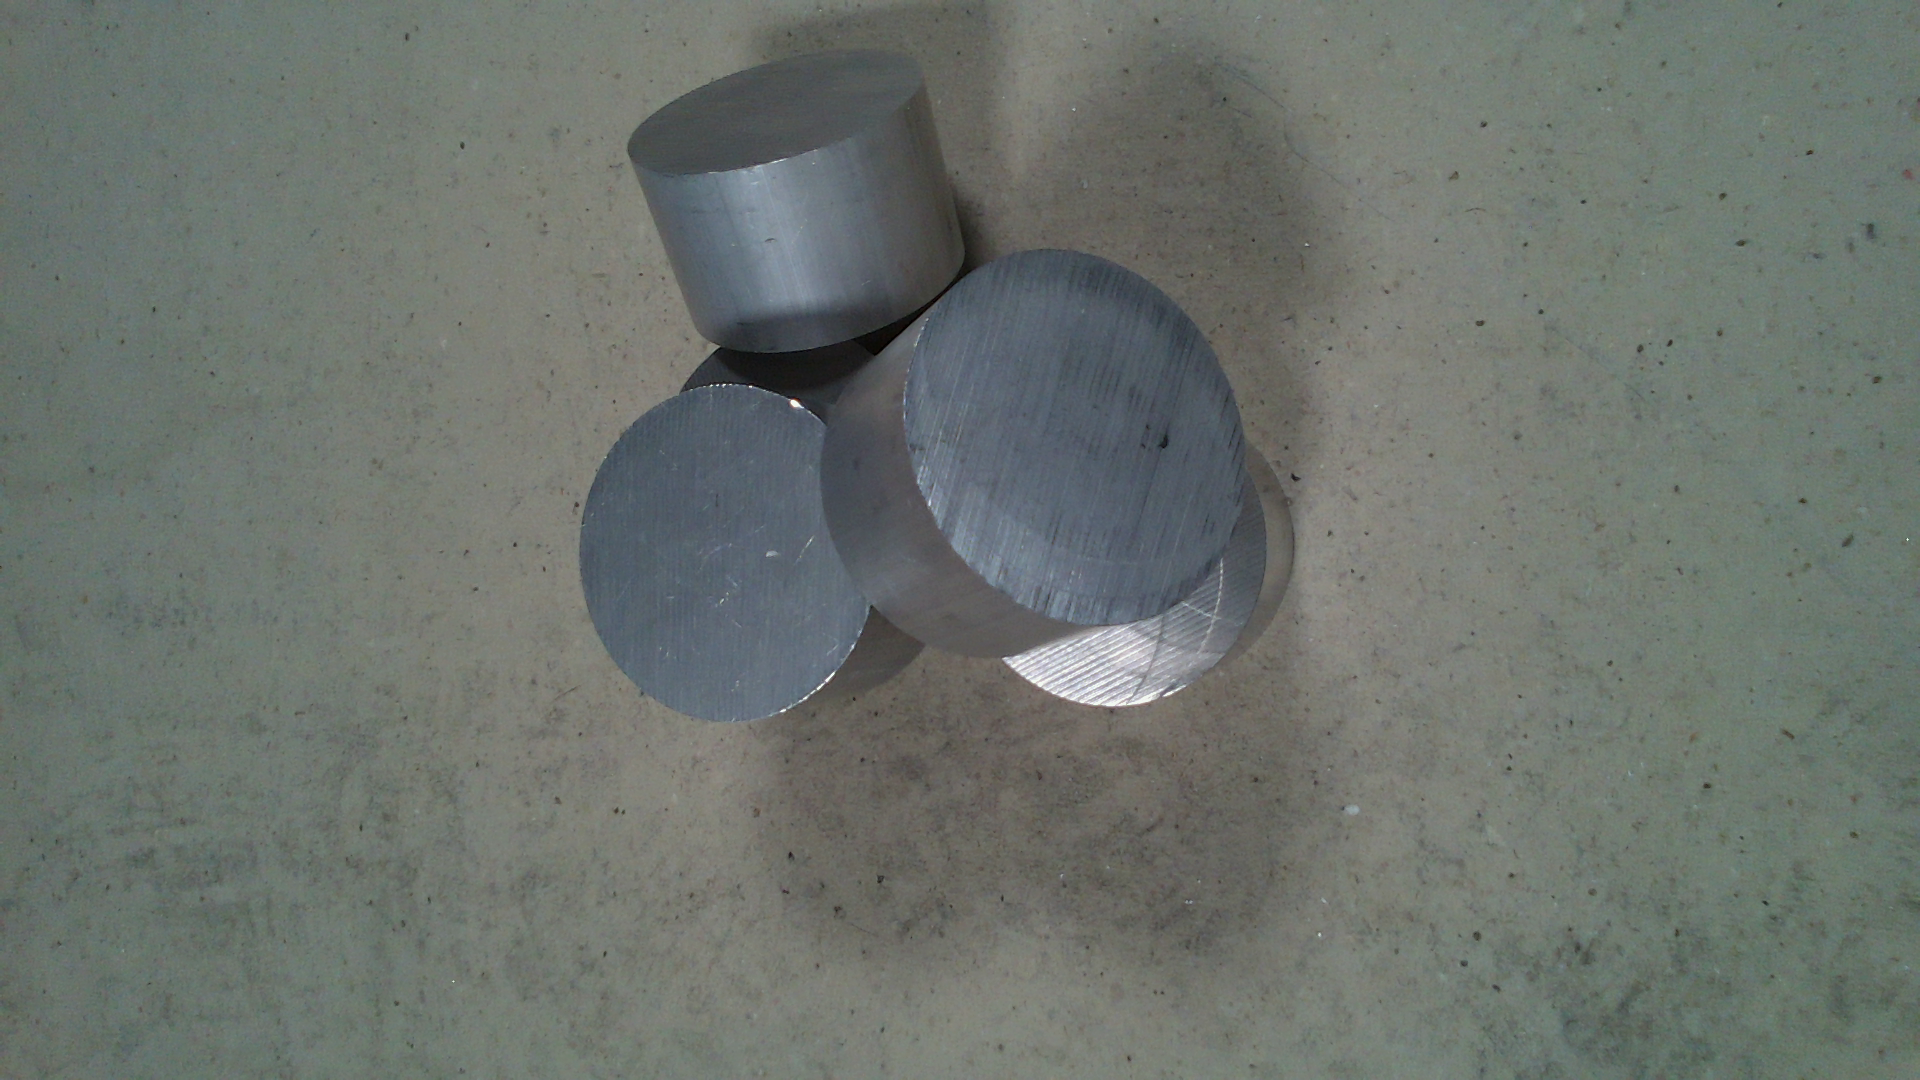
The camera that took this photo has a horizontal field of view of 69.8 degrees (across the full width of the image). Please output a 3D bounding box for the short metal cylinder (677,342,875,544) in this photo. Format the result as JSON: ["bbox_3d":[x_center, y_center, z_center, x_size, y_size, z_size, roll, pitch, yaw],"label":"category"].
[{"bbox_3d":[-0.039,-0.019,0.397,0.080,0.050,0.080,0,90,20],"label":"short metal cylinder"}]

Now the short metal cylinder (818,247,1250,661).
[{"bbox_3d":[0.015,-0.016,0.300,0.050,0.080,0.080,-27,78,62],"label":"short metal cylinder"}]

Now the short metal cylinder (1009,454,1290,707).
[{"bbox_3d":[0.045,0.001,0.366,0.080,0.050,0.080,0,90,20],"label":"short metal cylinder"}]

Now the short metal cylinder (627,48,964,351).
[{"bbox_3d":[-0.043,-0.094,0.375,0.080,0.080,0.050,0,129,20],"label":"short metal cylinder"}]

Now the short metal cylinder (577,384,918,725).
[{"bbox_3d":[-0.047,0.003,0.346,0.080,0.050,0.080,0,90,20],"label":"short metal cylinder"}]
